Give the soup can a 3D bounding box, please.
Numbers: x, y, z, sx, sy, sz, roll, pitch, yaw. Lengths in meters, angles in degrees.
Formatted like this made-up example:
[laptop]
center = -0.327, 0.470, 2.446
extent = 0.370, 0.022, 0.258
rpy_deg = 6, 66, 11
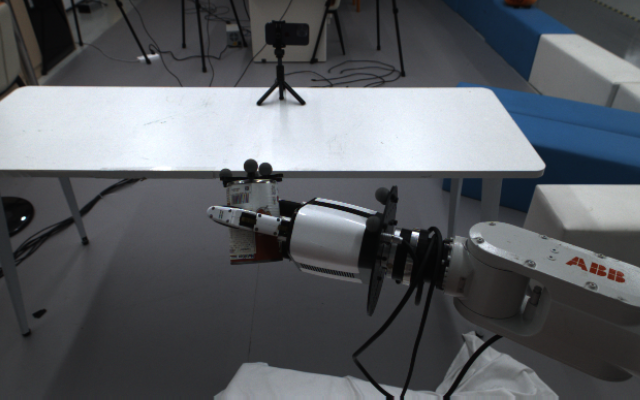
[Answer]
[soup can]
center = -0.082, 0.029, 0.615
extent = 0.067, 0.101, 0.067
rpy_deg = -5, -5, 0
